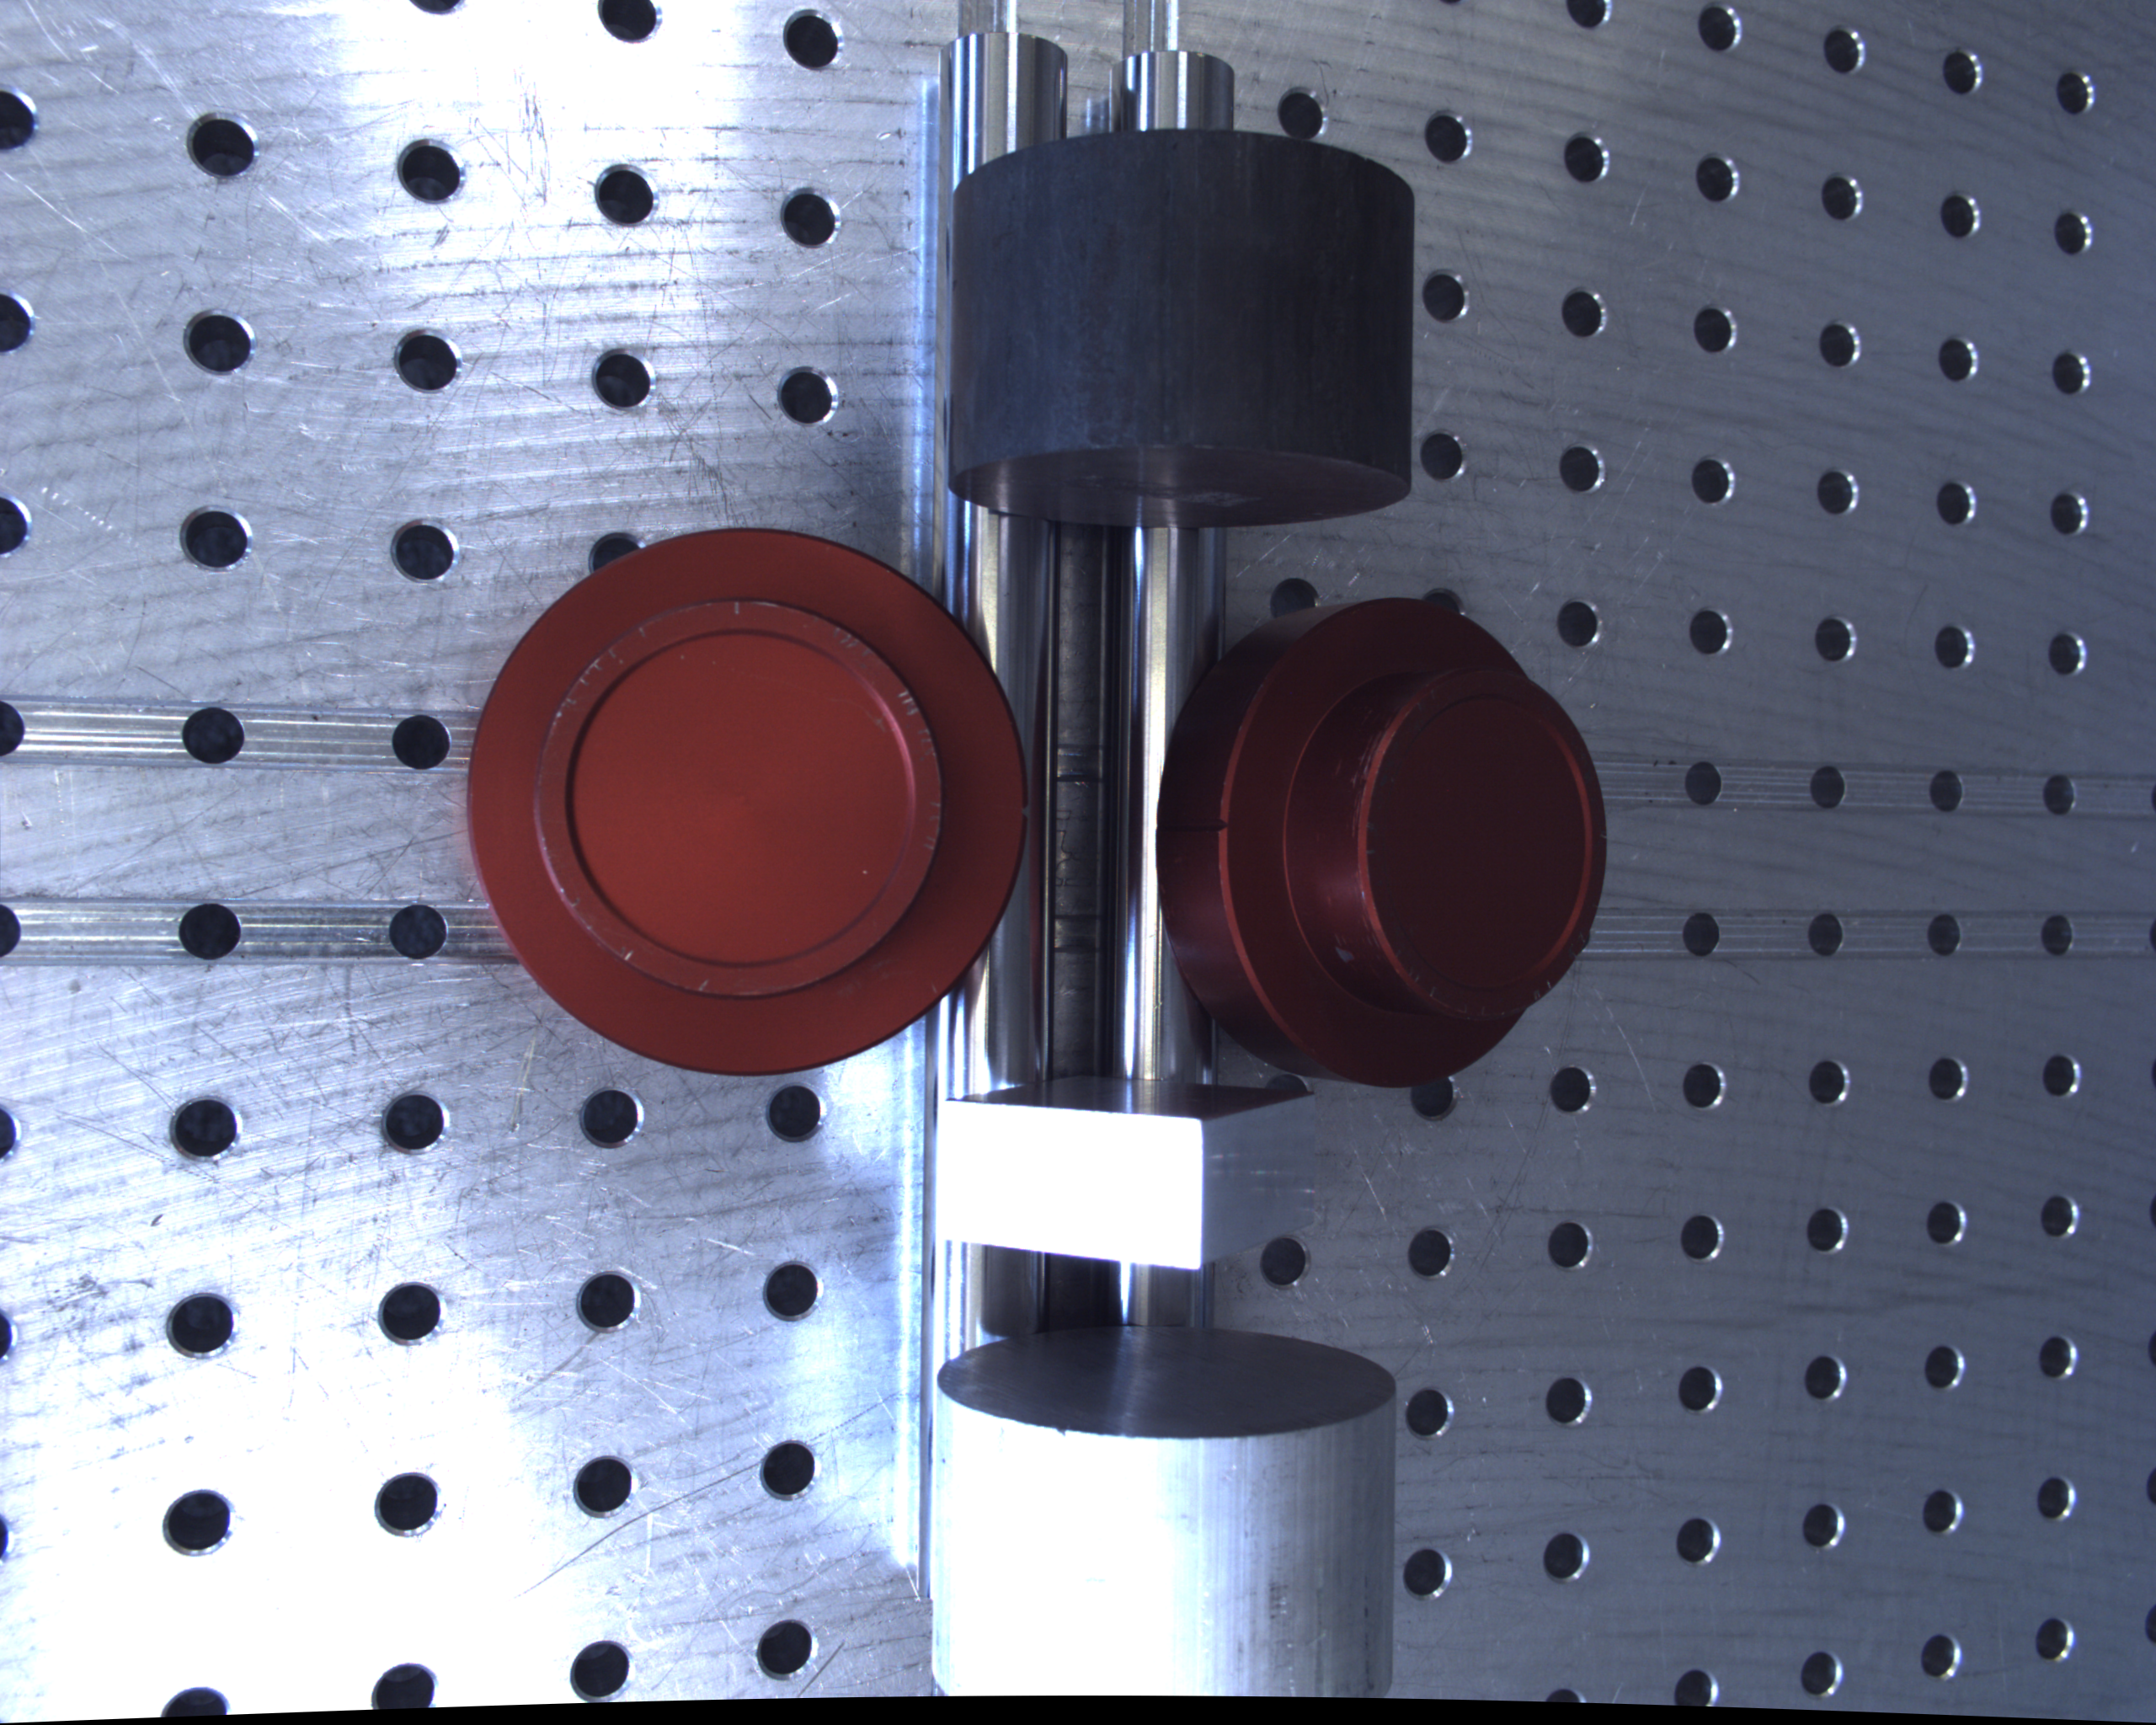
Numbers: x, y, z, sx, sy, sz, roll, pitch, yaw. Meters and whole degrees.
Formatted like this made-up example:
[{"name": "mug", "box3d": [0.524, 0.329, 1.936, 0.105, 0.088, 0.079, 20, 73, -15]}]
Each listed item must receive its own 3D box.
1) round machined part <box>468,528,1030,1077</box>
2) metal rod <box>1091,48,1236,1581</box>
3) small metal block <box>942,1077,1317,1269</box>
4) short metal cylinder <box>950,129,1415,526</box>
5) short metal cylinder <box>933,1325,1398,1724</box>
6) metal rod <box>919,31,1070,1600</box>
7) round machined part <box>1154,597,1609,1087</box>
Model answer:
[{"name": "round machined part", "box3d": [-0.058, -0.011, 0.369, 0.099, 0.042, 0.097, 0, 90, -6]}, {"name": "metal rod", "box3d": [0.017, -0.009, 0.418, 0.025, 0.025, 0.298, 1, 90, -20]}, {"name": "small metal block", "box3d": [0.010, 0.055, 0.378, 0.050, 0.050, 0.025, 2, 89, -62]}, {"name": "short metal cylinder", "box3d": [0.018, -0.090, 0.366, 0.081, 0.080, 0.050, 1, 90, -20]}, {"name": "short metal cylinder", "box3d": [0.015, 0.115, 0.366, 0.081, 0.080, 0.050, 1, 90, -20]}, {"name": "metal rod", "box3d": [-0.016, -0.008, 0.406, 0.025, 0.025, 0.298, 1, 90, -20]}, {"name": "round machined part", "box3d": [0.067, -0.004, 0.414, 0.099, 0.042, 0.097, 0, 91, -35]}]
